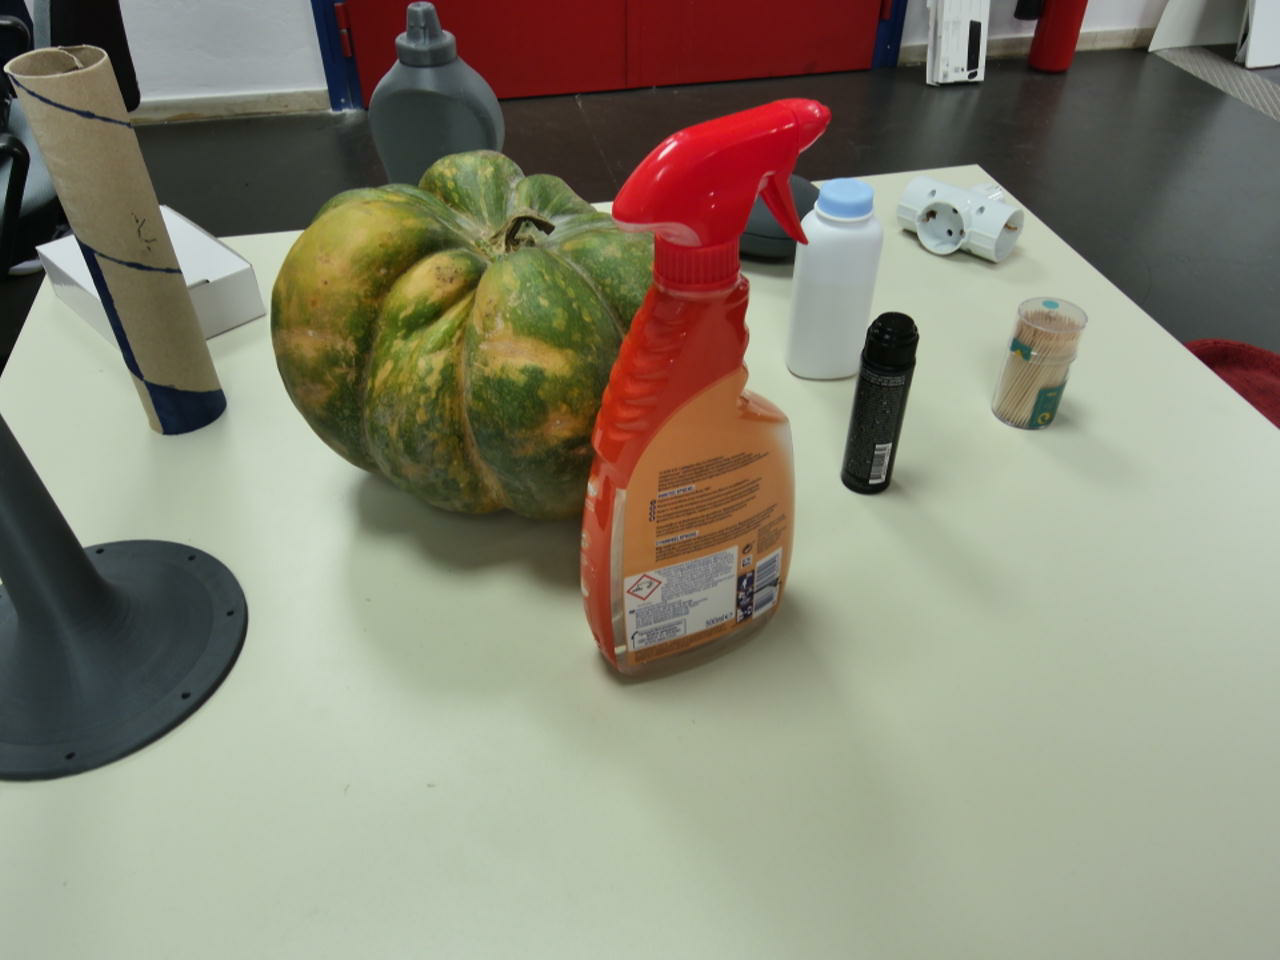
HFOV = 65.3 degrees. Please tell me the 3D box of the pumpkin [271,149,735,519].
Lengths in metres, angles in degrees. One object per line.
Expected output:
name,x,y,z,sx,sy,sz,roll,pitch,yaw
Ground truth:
pumpkin,-0.074,-0.088,0.572,0.270,0.173,0.237,17,42,19
